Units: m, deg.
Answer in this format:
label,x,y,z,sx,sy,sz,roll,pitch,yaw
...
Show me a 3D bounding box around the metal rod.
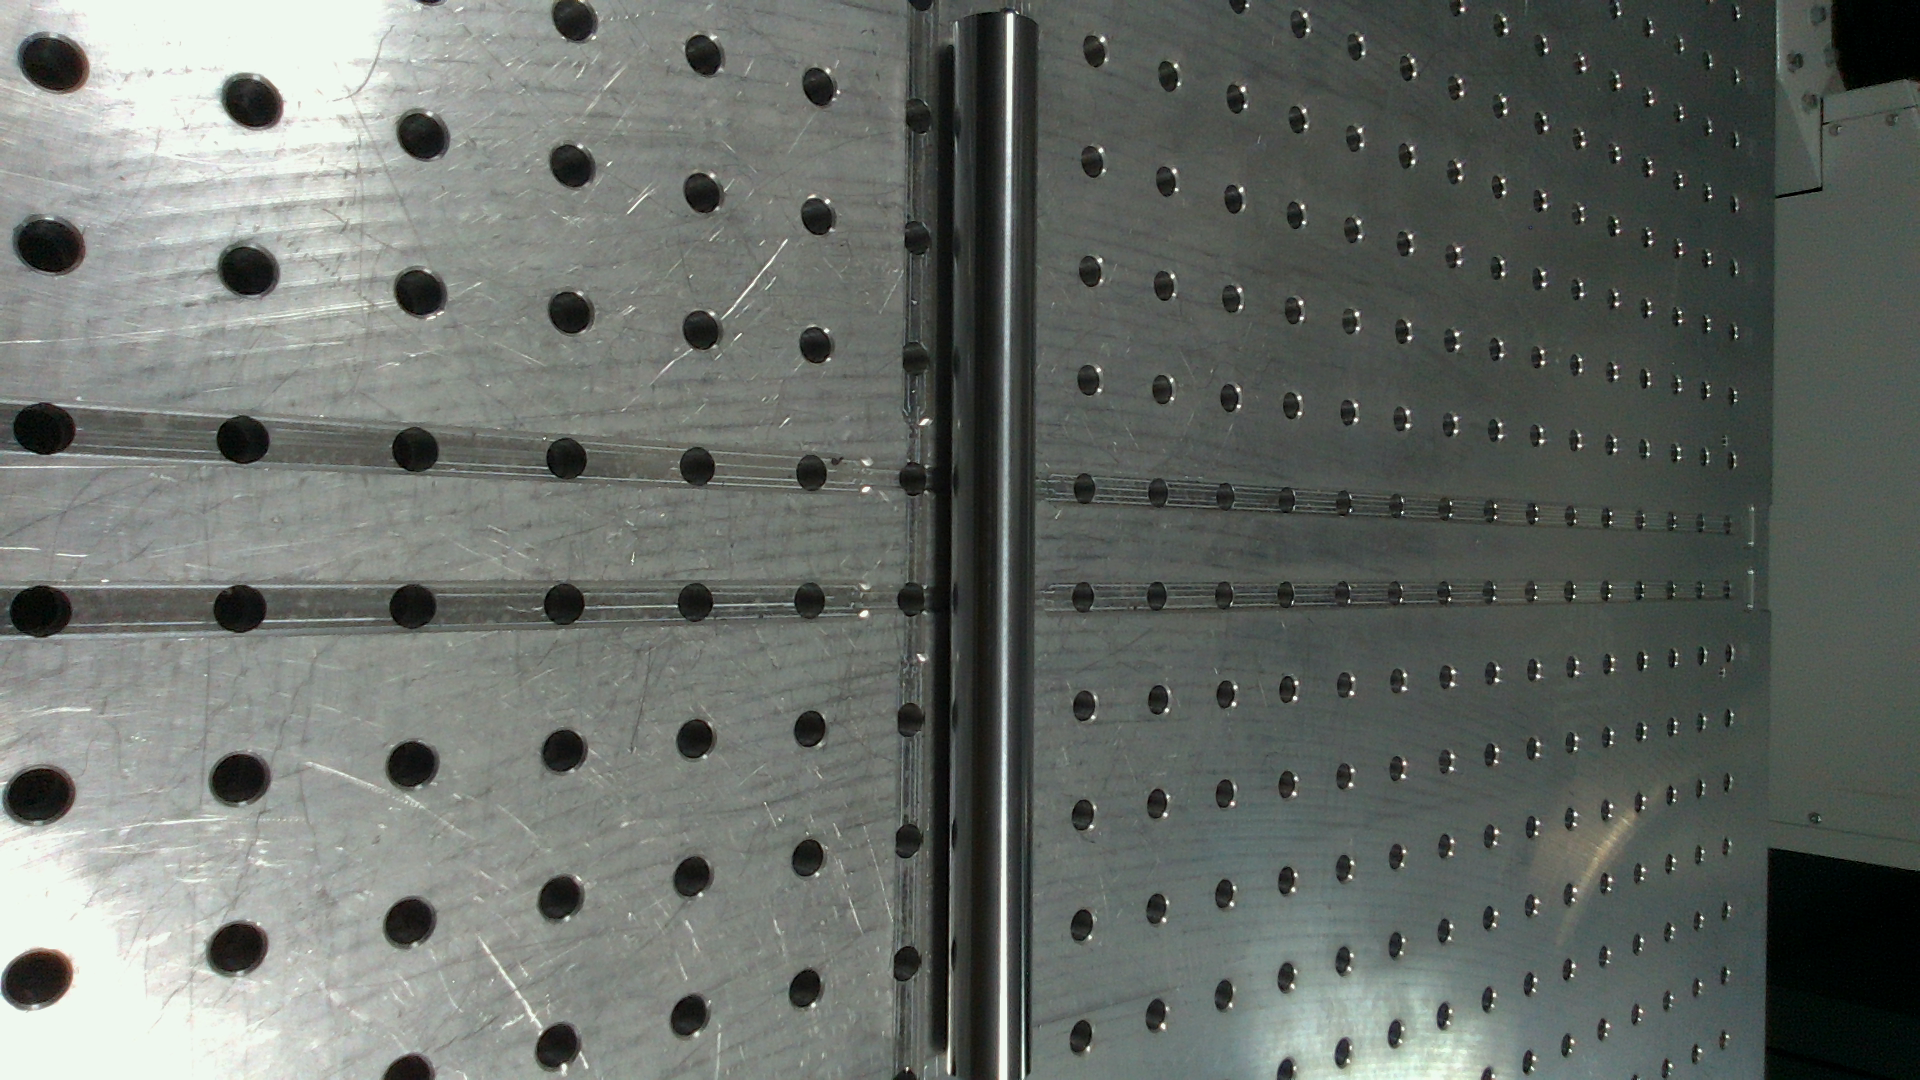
label,x,y,z,sx,sy,sz,roll,pitch,yaw
metal rod,0.009,0.002,0.399,0.025,0.025,0.300,0,90,-40
